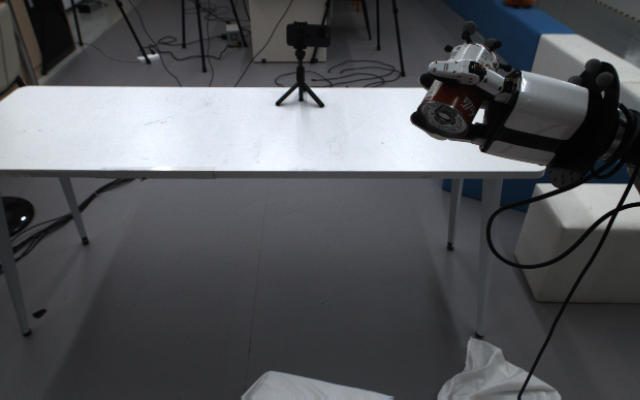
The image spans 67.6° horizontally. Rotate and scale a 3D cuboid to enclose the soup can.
[{"bbox_3d":[0.176,-0.139,0.609,0.067,0.067,0.101,23,72,27],"label":"soup can"}]
